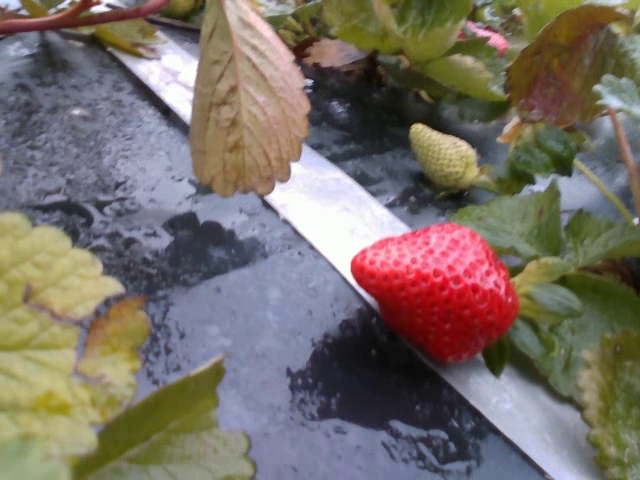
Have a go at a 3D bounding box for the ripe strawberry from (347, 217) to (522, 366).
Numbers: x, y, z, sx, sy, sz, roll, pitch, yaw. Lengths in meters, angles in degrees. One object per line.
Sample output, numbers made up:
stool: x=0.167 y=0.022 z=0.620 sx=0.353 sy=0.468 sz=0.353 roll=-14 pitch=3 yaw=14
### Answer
ripe strawberry: x=0.024 y=0.010 z=0.146 sx=0.051 sy=0.042 sz=0.037 roll=14 pitch=-32 yaw=-41
